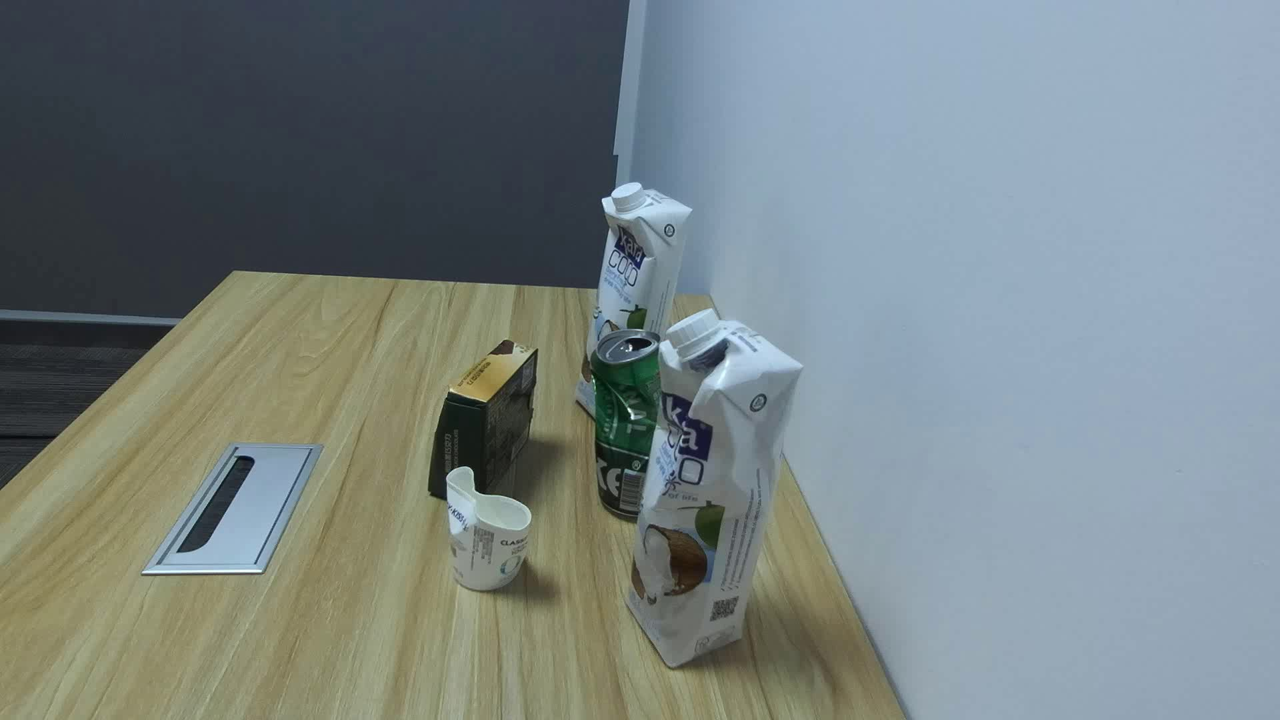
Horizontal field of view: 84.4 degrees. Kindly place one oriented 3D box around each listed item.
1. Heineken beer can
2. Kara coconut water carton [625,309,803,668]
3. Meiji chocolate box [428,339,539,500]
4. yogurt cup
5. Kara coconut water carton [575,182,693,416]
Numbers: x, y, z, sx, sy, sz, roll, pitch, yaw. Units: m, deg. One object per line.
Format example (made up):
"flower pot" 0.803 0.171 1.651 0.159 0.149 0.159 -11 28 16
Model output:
"Heineken beer can" -0.001 0.058 0.611 0.079 0.159 0.067 -4 18 -9
"Kara coconut water carton" 0.041 0.079 0.458 0.078 0.255 0.083 -5 31 -17
"Meiji chocolate box" -0.138 0.051 0.627 0.058 0.110 0.113 16 29 4
"yogurt cup" -0.114 0.128 0.531 0.075 0.071 0.054 13 29 12
"Kara coconut water carton" -0.008 -0.053 0.700 0.071 0.244 0.099 -10 31 -32
